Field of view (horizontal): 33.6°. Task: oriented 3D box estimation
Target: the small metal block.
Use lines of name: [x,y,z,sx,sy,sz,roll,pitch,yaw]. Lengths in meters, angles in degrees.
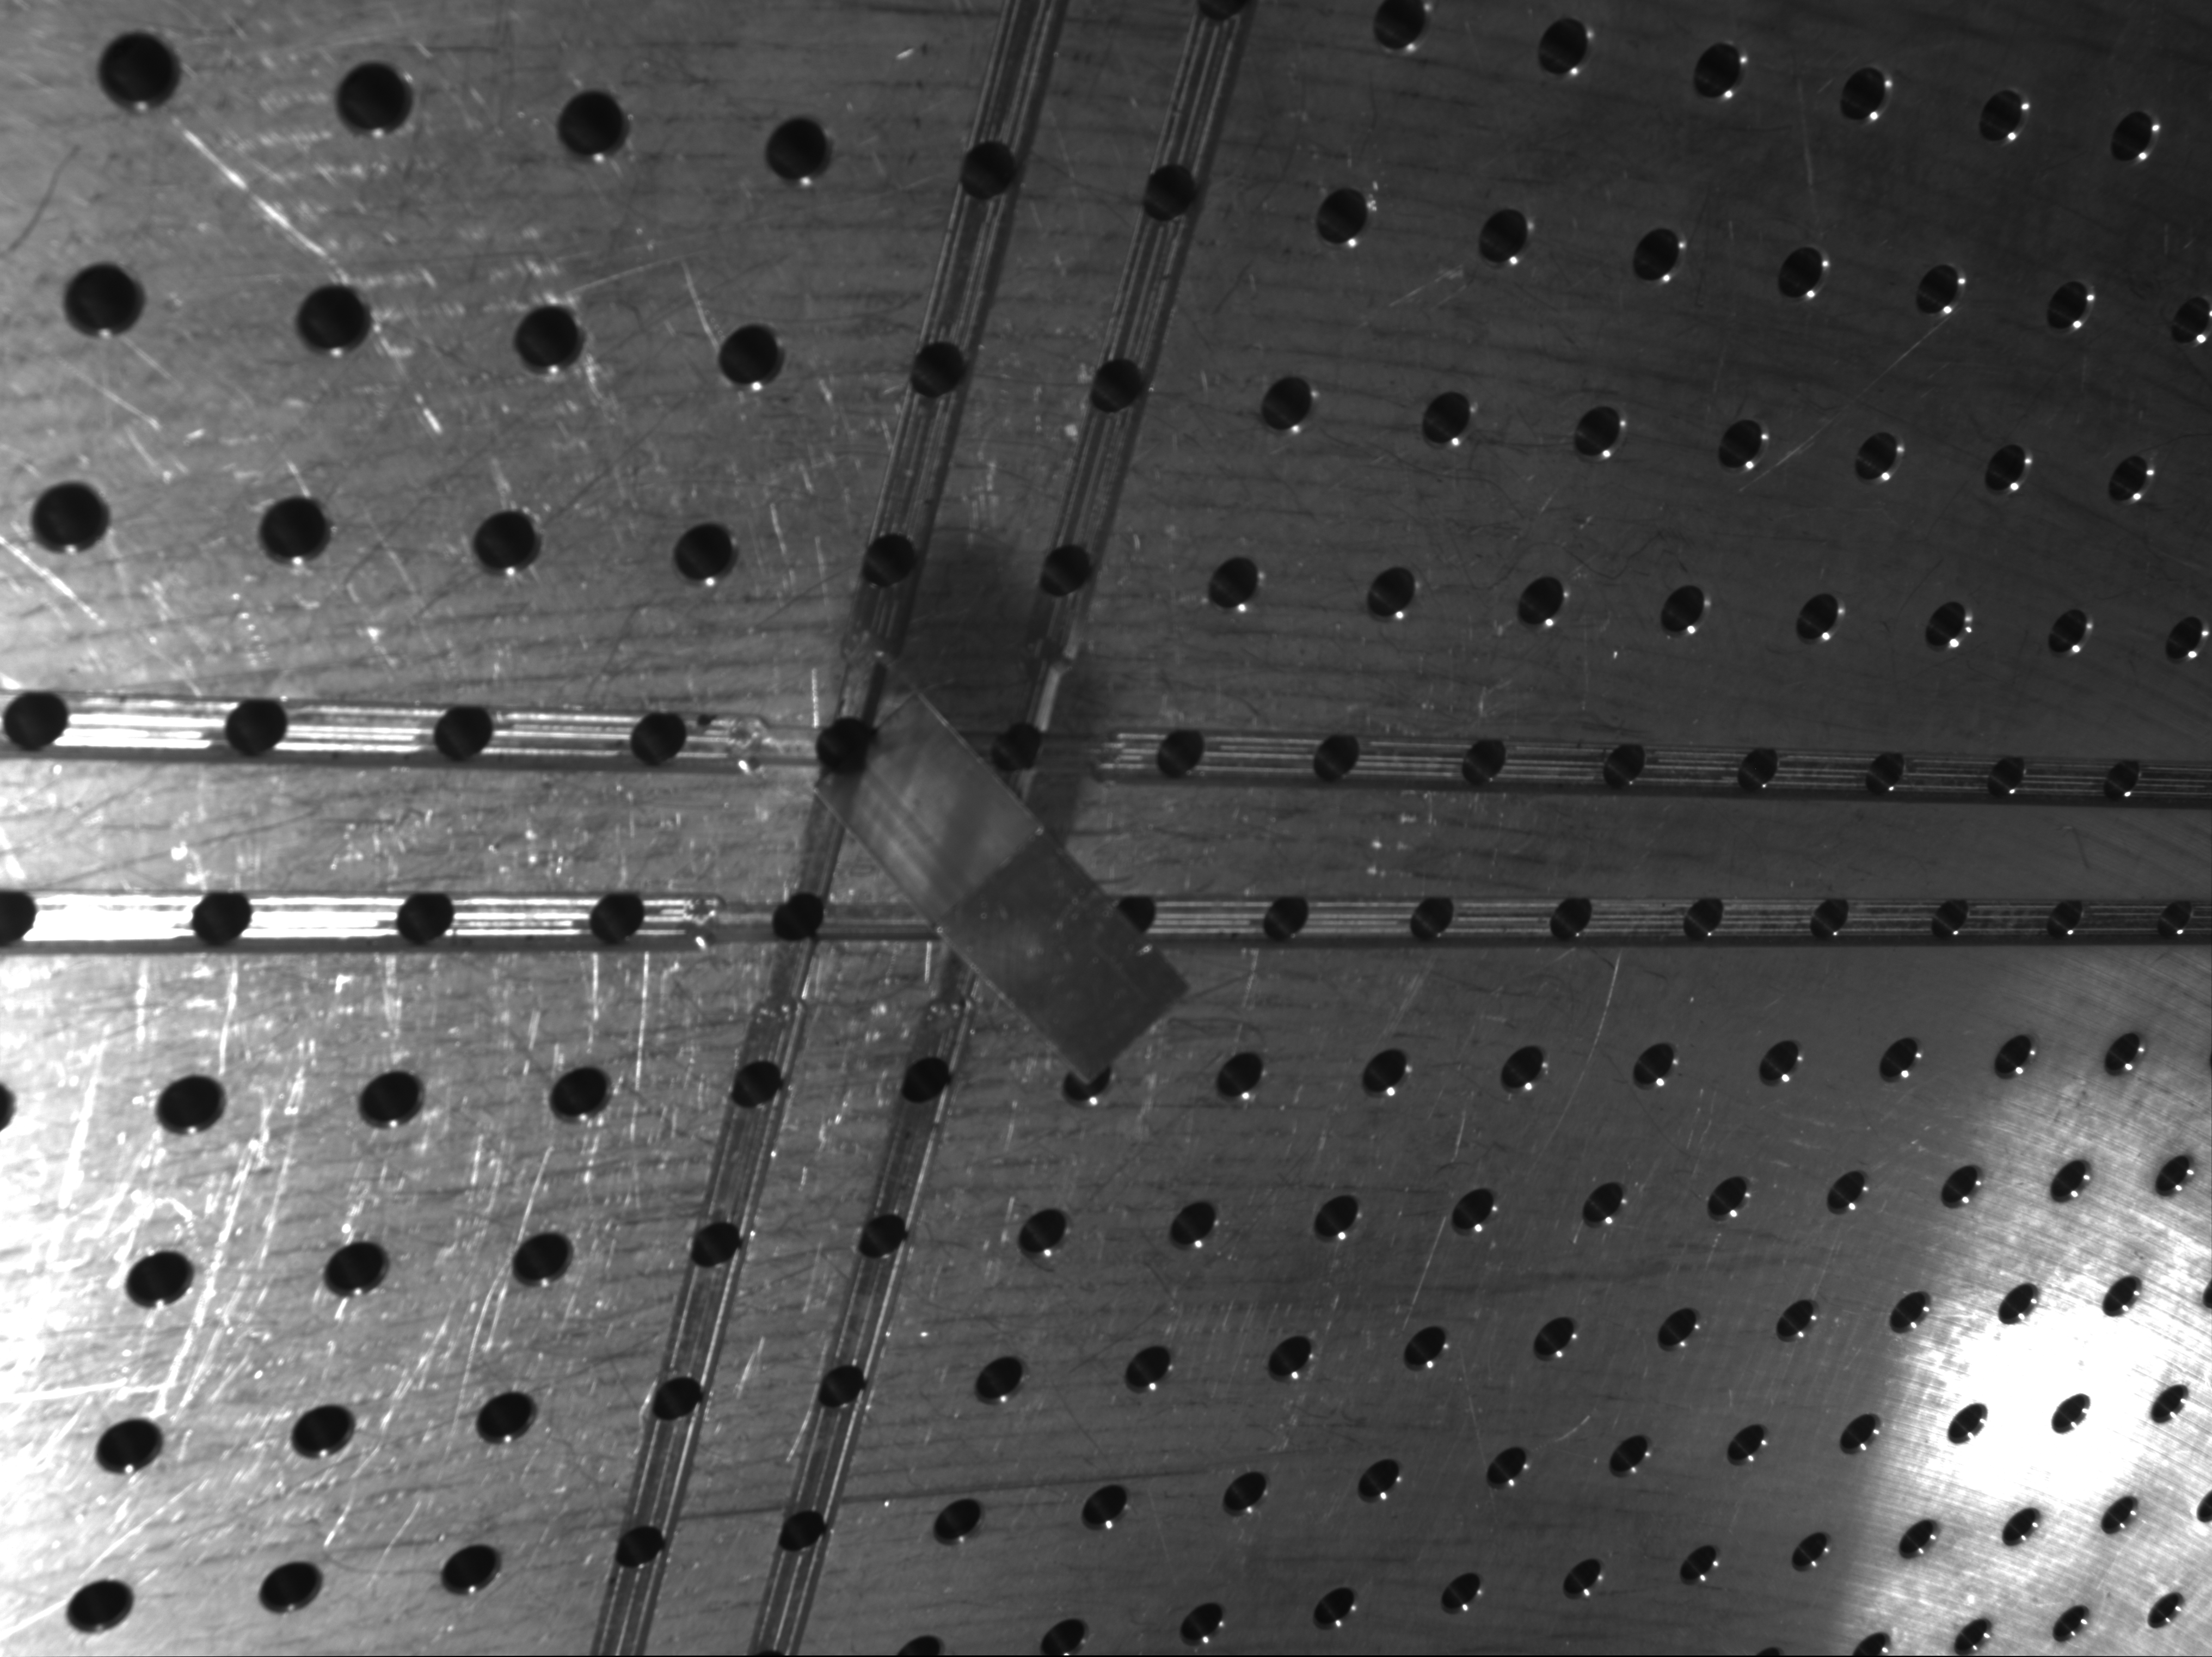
small metal block: [-0.010,0.011,0.638,0.025,0.050,0.050,-42,130,-1]
